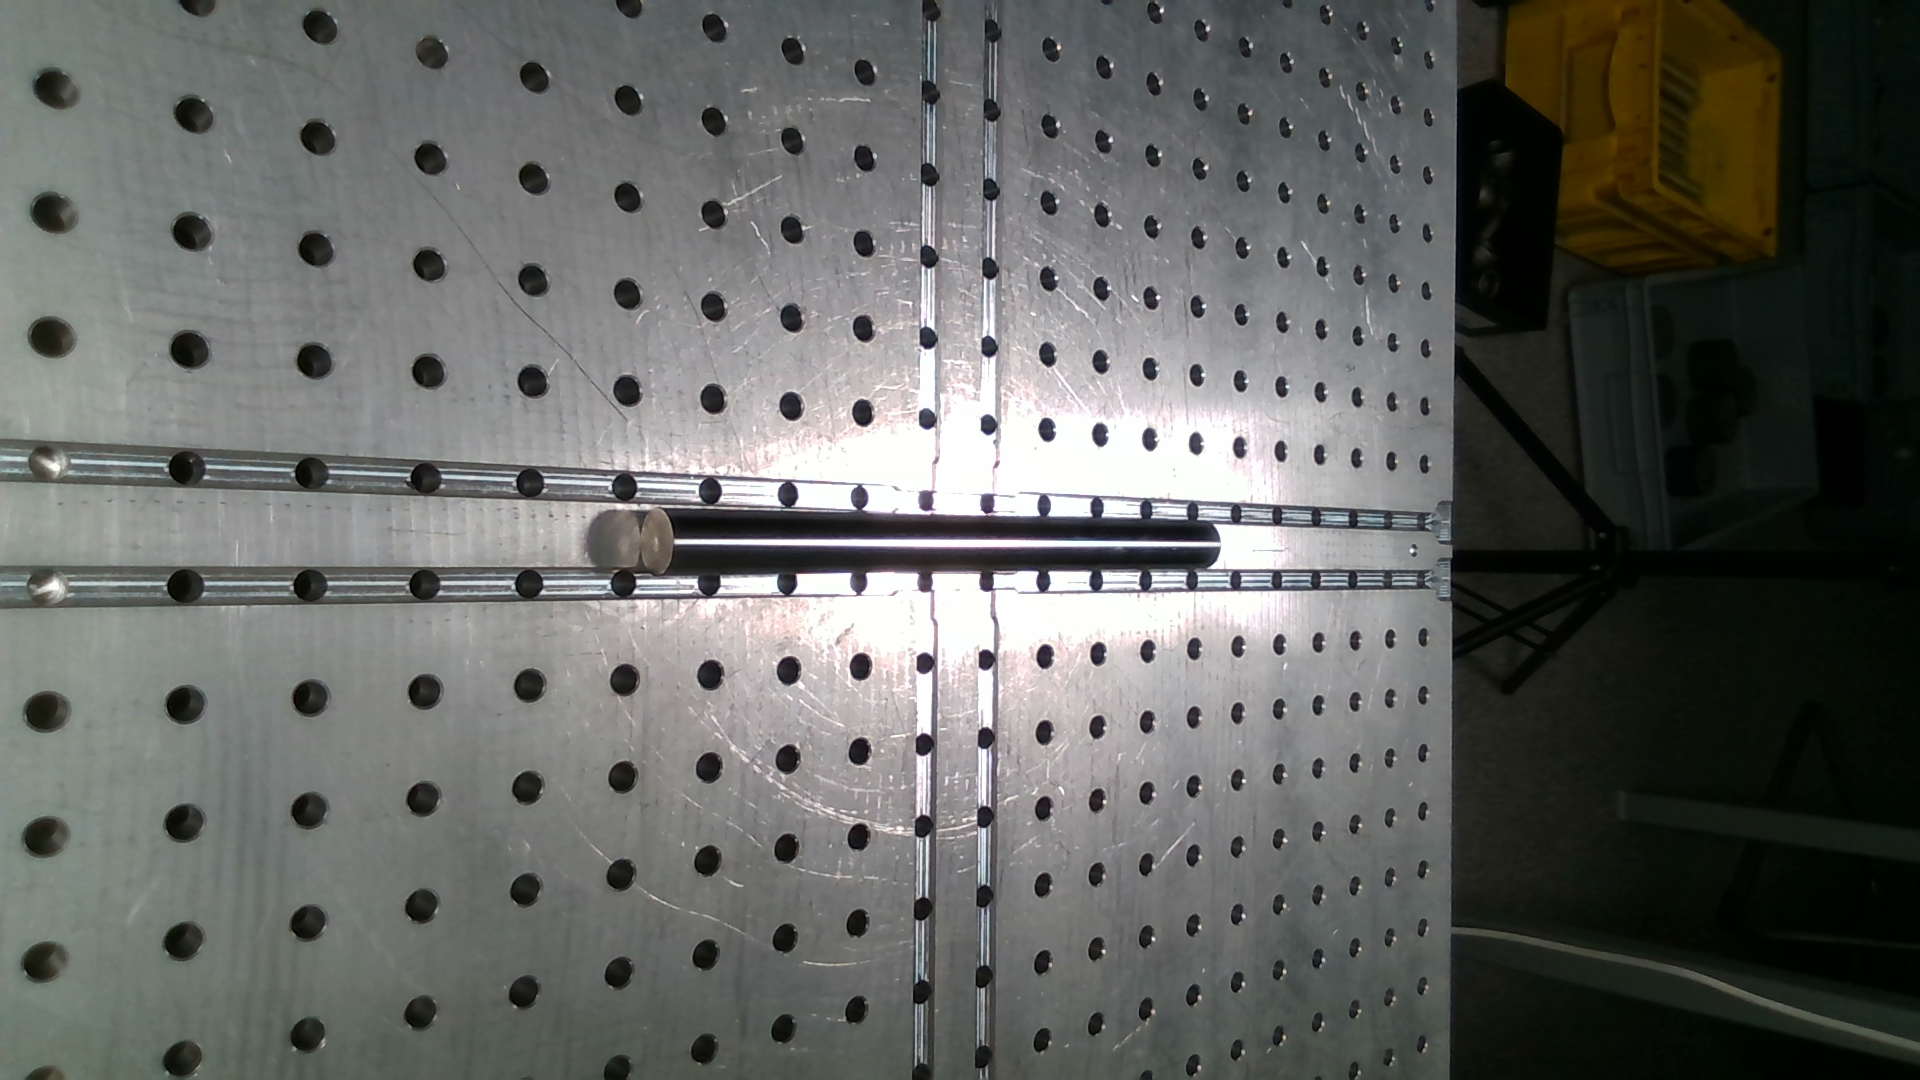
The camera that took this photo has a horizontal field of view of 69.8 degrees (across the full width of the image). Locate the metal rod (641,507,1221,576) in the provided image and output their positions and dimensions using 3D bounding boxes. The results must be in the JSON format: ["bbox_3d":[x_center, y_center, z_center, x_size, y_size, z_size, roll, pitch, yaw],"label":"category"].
[{"bbox_3d":[0.006,0.002,0.591,0.300,0.025,0.025,1,90,-40],"label":"metal rod"}]
